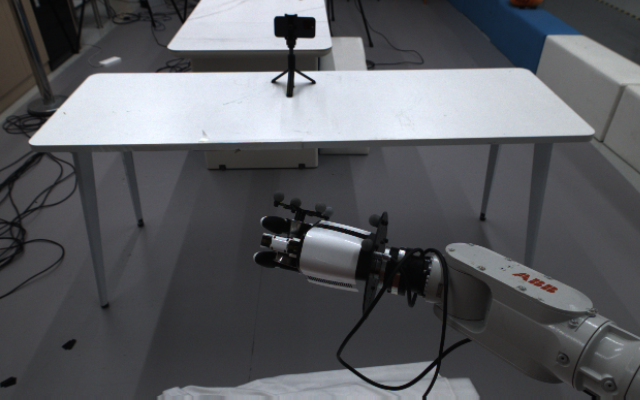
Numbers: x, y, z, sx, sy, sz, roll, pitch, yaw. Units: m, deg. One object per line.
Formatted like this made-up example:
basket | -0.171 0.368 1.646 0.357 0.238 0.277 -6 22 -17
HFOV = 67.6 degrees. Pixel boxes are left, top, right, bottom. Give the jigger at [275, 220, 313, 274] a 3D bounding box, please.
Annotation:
jigger | -0.039 0.065 0.738 0.043 0.071 0.043 15 -7 2
